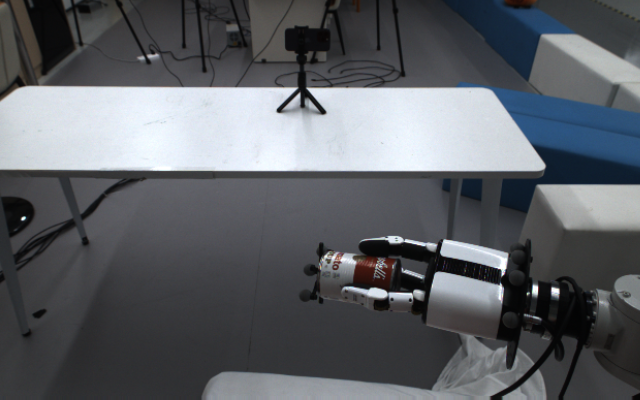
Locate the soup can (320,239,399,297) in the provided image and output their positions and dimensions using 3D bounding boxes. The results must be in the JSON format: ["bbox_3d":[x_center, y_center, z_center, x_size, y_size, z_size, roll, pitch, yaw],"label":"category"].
[{"bbox_3d":[0.057,0.107,0.655,0.101,0.067,0.067,4,34,18],"label":"soup can"}]
